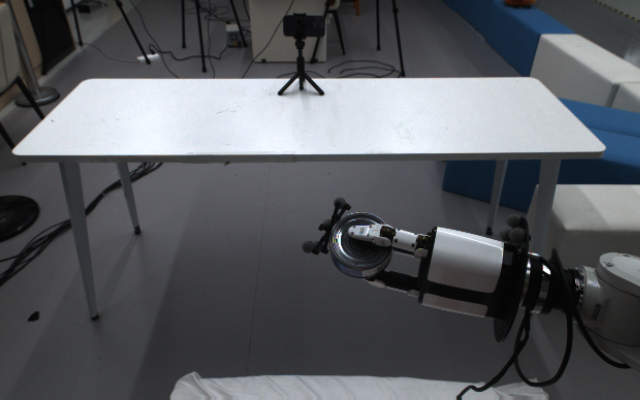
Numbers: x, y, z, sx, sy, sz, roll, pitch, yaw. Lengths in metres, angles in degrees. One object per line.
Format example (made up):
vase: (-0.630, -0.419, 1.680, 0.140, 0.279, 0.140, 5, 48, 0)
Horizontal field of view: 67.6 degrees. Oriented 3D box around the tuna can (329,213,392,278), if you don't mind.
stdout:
tuna can: (0.058, 0.059, 0.653, 0.085, 0.034, 0.085, -1, 61, 1)
